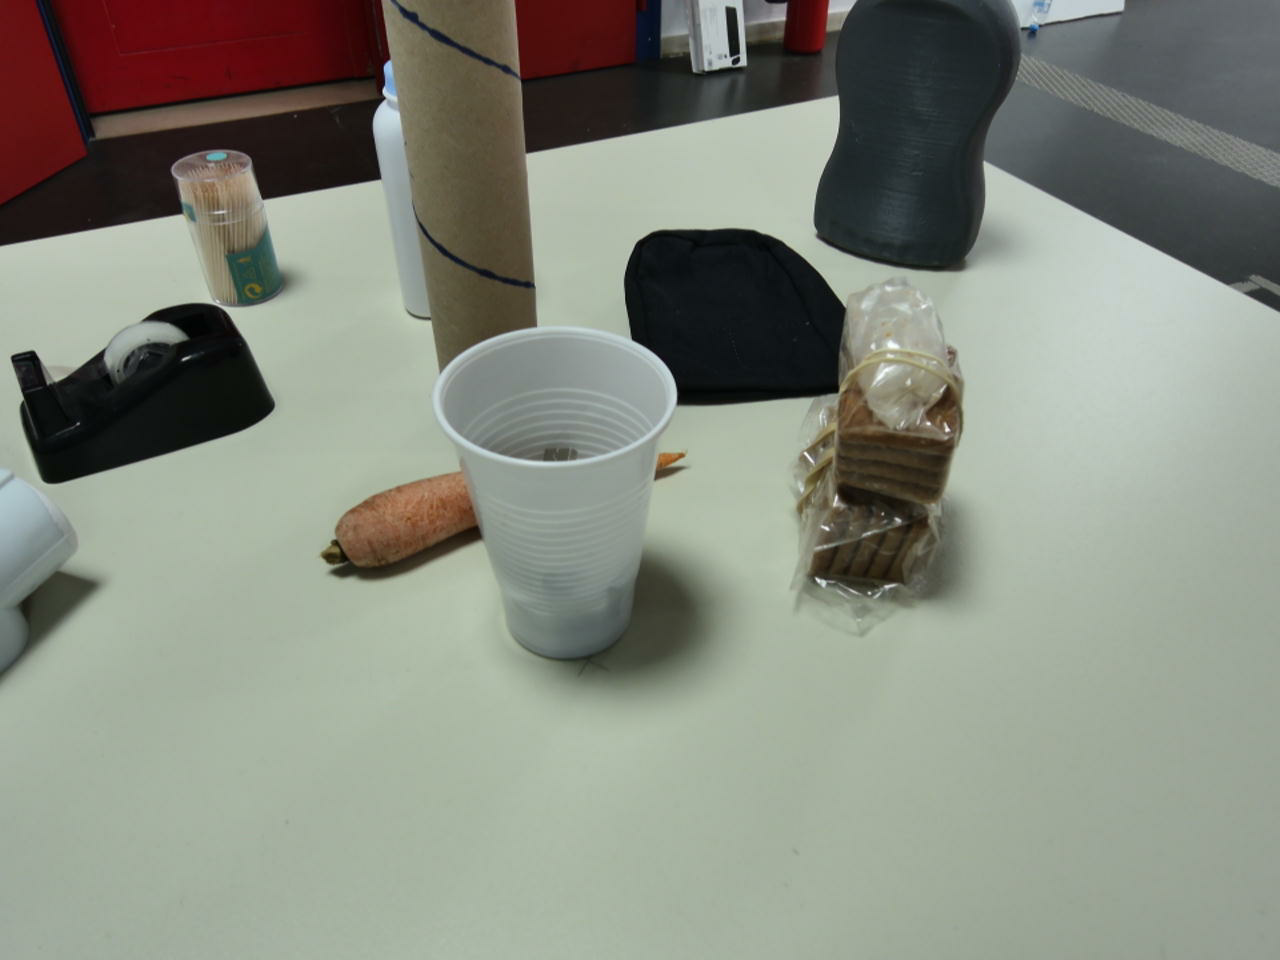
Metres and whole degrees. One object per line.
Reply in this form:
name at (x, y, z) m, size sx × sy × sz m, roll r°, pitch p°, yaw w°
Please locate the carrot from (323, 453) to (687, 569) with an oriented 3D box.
carrot at (-0.056, 0.005, 0.434) m, size 0.163 × 0.029 × 0.031 m, roll -17°, pitch 41°, yaw -21°
